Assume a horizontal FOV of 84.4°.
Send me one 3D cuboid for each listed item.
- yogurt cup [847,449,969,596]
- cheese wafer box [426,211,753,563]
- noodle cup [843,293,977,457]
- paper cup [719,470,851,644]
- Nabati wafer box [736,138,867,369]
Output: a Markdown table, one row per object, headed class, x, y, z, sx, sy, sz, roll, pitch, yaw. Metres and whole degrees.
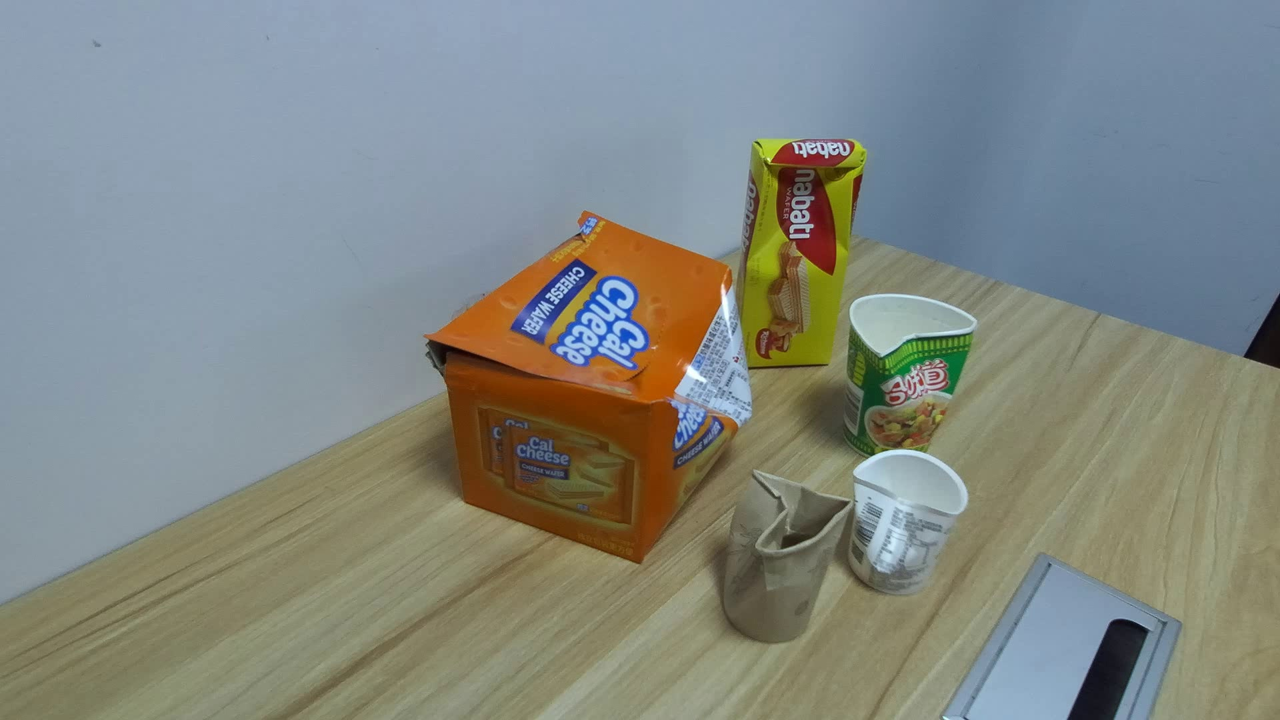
| class | x | y | z | sx | sy | sz | roll | pitch | yaw |
| --- | --- | --- | --- | --- | --- | --- | --- | --- | --- |
| yogurt cup | 0.166 | 0.105 | 0.448 | 0.067 | 0.070 | 0.067 | 1 | 31 | 0 |
| cheese wafer box | -0.010 | 0.007 | 0.527 | 0.190 | 0.145 | 0.219 | 13 | 35 | 19 |
| noodle cup | 0.202 | 0.016 | 0.552 | 0.094 | 0.109 | 0.087 | -1 | 33 | -4 |
| paper cup | 0.077 | 0.116 | 0.415 | 0.058 | 0.083 | 0.067 | 27 | 41 | 37 |
| Nabati wafer box | 0.136 | -0.087 | 0.619 | 0.096 | 0.203 | 0.042 | -1 | 29 | -7 |
